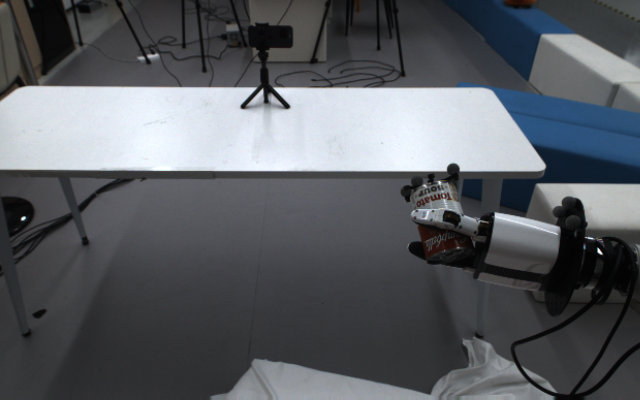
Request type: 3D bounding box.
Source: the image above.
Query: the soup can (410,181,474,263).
[{"bbox_3d":[0.174,0.030,0.683,0.067,0.067,0.101,-8,68,-14],"label":"soup can"}]
